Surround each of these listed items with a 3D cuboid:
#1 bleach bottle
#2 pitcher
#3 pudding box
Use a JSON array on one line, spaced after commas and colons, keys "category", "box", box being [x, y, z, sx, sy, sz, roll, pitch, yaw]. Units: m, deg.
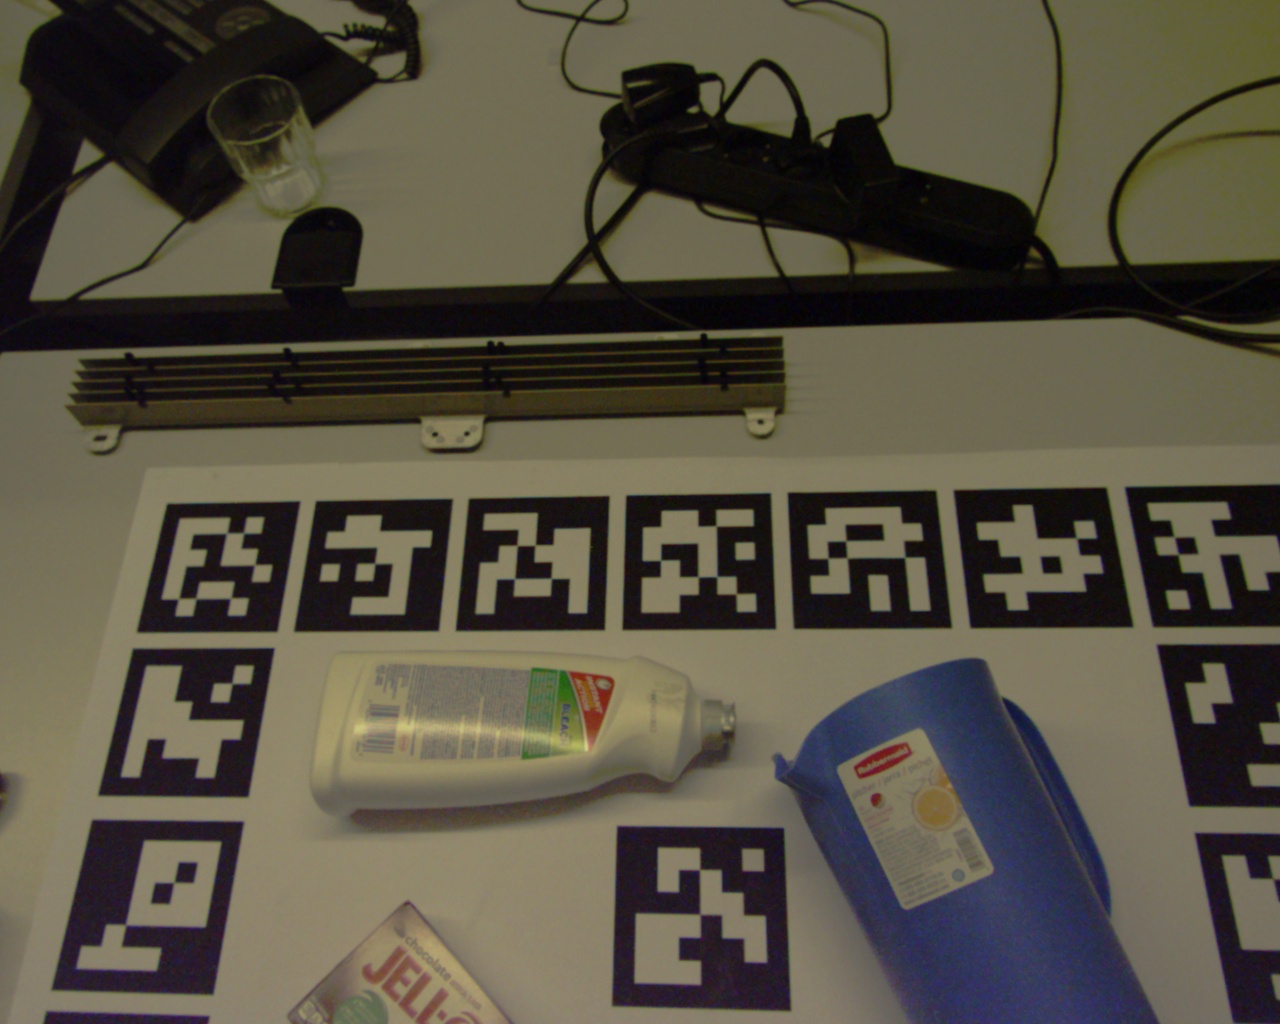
[{"category": "bleach bottle", "box": [-0.069, 0.139, 0.730, 0.251, 0.067, 0.103, -3, 67, 2]}, {"category": "pitcher", "box": [0.187, 0.225, 0.643, 0.186, 0.134, 0.244, -7, 63, -37]}, {"category": "pudding box", "box": [-0.133, 0.298, 0.664, 0.089, 0.038, 0.115, -39, 68, -20]}]
